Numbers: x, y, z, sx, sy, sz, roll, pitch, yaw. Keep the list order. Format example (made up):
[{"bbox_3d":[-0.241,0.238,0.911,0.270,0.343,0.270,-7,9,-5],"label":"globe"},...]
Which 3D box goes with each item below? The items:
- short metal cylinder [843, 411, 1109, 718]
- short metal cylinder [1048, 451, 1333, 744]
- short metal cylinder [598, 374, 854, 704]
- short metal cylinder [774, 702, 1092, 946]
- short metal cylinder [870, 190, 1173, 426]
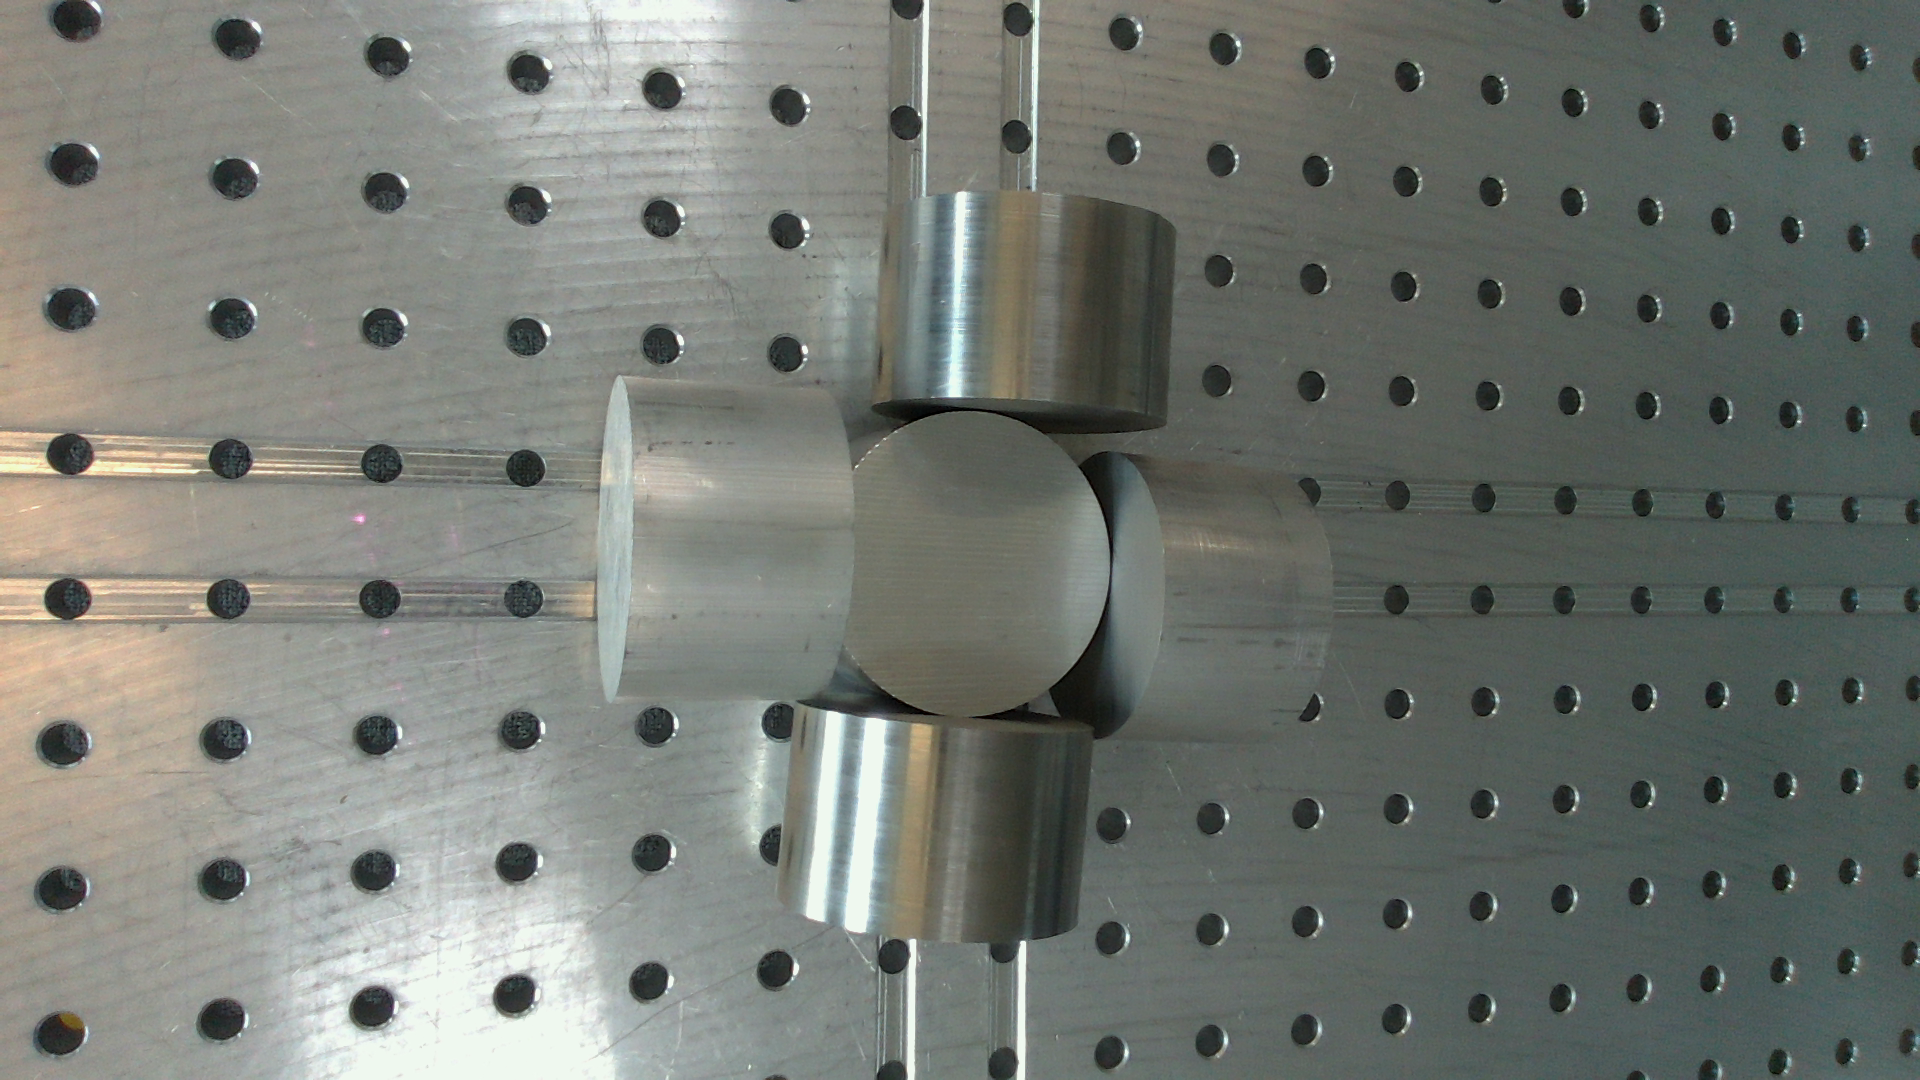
[{"bbox_3d":[-0.006,0.006,0.381,0.080,0.050,0.080,0,90,-21],"label":"short metal cylinder"},{"bbox_3d":[0.061,0.017,0.390,0.050,0.080,0.080,4,89,-20],"label":"short metal cylinder"},{"bbox_3d":[-0.062,0.000,0.344,0.050,0.080,0.080,2,90,-21],"label":"short metal cylinder"},{"bbox_3d":[-0.007,0.071,0.364,0.080,0.080,0.050,6,87,-20],"label":"short metal cylinder"},{"bbox_3d":[0.017,-0.059,0.373,0.080,0.080,0.050,3,89,-20],"label":"short metal cylinder"}]
